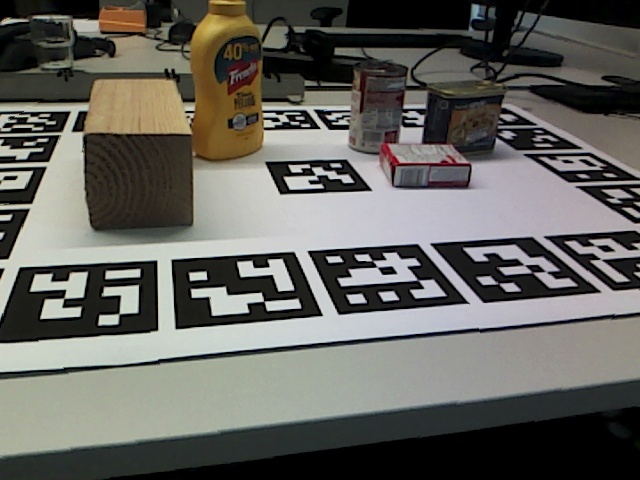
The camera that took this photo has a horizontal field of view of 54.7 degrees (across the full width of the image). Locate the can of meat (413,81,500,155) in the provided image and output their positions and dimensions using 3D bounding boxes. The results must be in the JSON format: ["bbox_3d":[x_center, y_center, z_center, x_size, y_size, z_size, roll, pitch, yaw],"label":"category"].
[{"bbox_3d":[0.173,-0.156,0.795,0.101,0.083,0.058,-9,31,-28],"label":"can of meat"}]

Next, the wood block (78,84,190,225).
[{"bbox_3d":[-0.182,-0.096,0.625,0.090,0.090,0.207,-1,24,-14],"label":"wood block"}]

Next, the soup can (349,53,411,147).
[{"bbox_3d":[0.074,-0.177,0.783,0.068,0.102,0.068,3,29,-2],"label":"soup can"}]

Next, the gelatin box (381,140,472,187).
[{"bbox_3d":[0.120,-0.088,0.707,0.089,0.030,0.073,0,30,-3],"label":"gelatin box"}]

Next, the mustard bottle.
[{"bbox_3d":[-0.110,-0.191,0.717,0.095,0.191,0.059,-17,33,-37],"label":"mustard bottle"}]
